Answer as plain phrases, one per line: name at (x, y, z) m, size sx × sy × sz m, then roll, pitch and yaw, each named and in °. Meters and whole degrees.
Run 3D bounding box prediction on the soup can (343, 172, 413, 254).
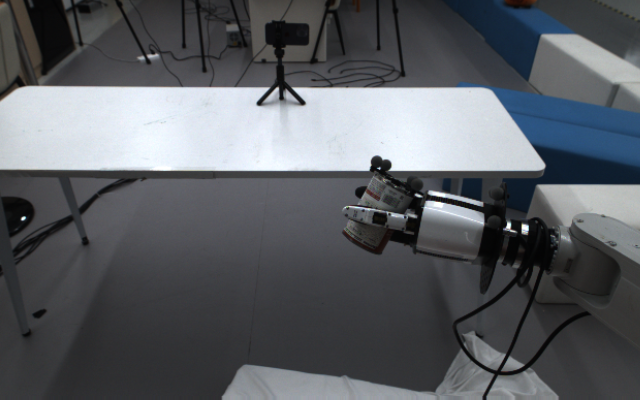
soup can at (0.087, 0.020, 0.712) m, size 0.067 × 0.101 × 0.067 m, roll 27°, pitch 10°, yaw -5°
